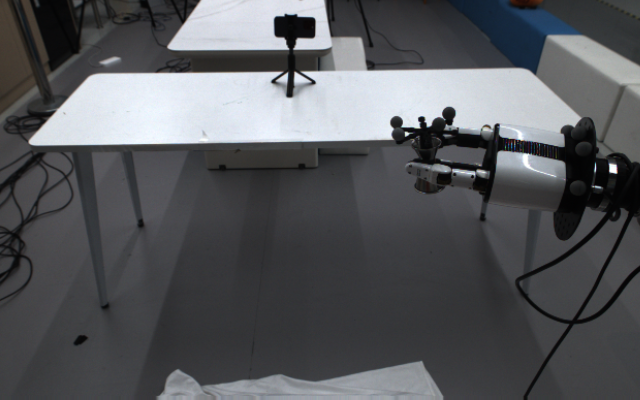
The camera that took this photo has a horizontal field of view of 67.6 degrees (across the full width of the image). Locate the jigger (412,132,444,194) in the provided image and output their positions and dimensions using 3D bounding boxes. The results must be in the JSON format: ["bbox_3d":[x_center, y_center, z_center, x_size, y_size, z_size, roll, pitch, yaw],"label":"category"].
[{"bbox_3d":[0.148,-0.048,0.666,0.043,0.071,0.043,-10,32,6],"label":"jigger"}]
